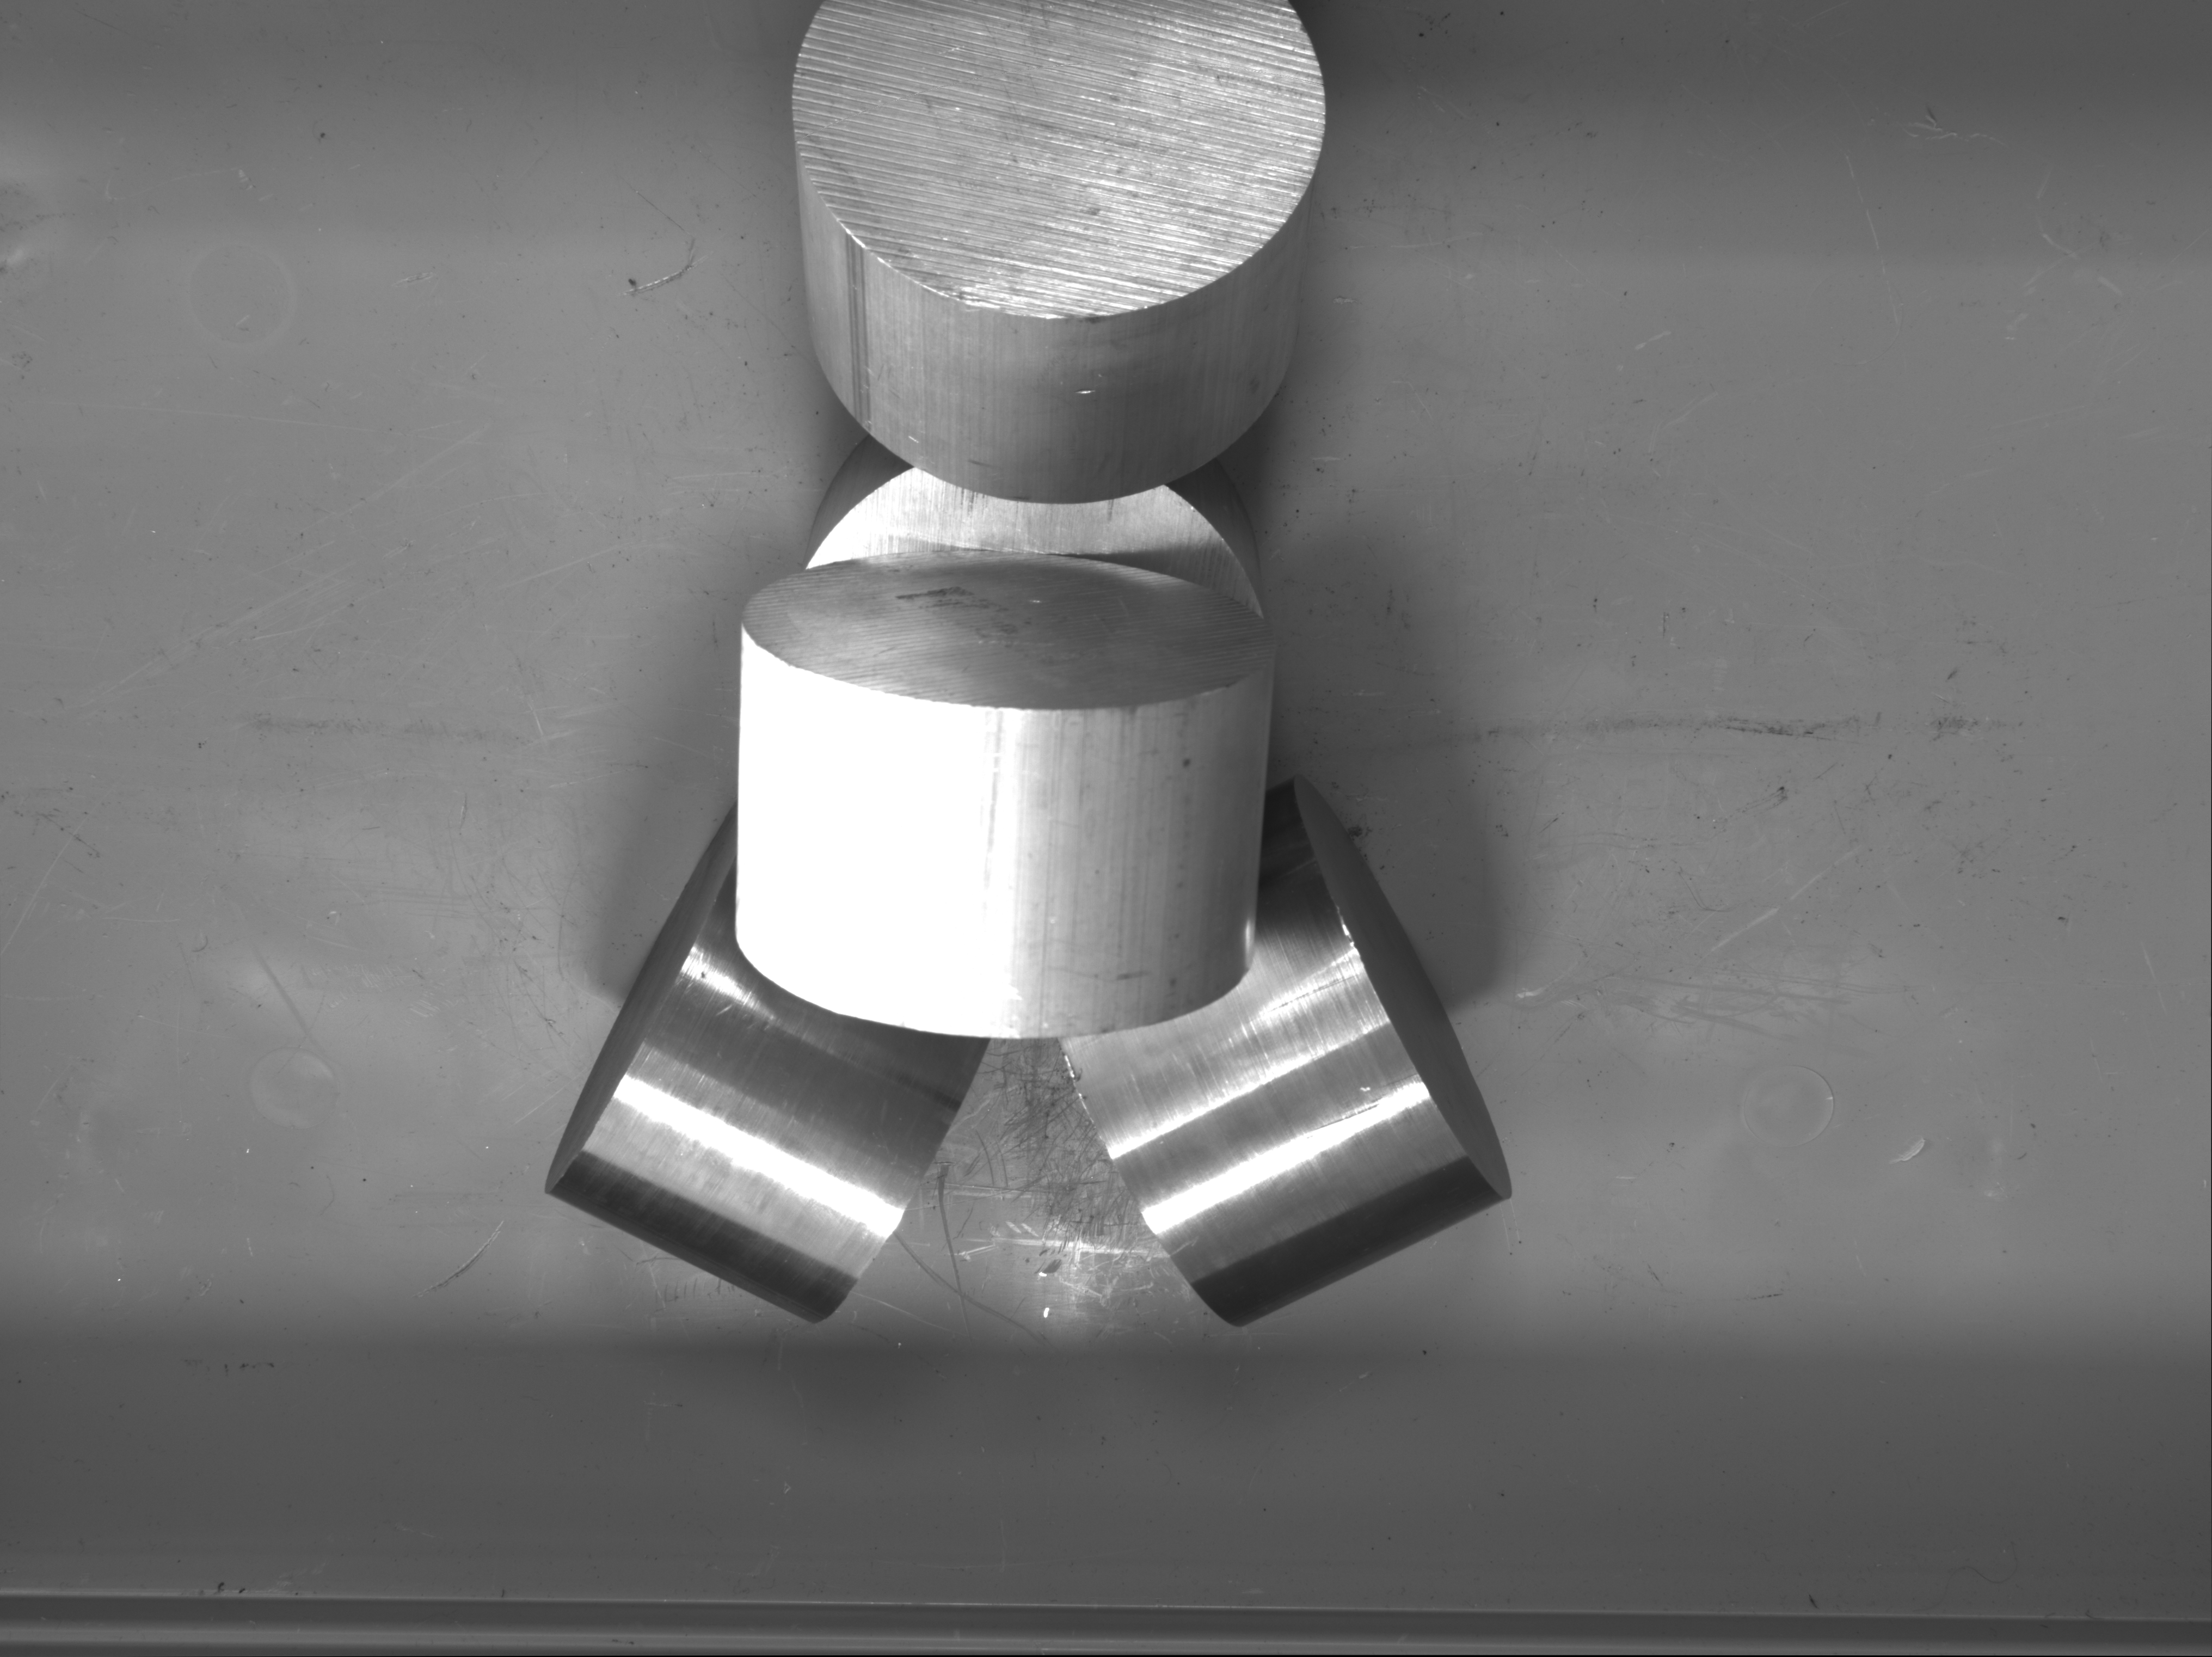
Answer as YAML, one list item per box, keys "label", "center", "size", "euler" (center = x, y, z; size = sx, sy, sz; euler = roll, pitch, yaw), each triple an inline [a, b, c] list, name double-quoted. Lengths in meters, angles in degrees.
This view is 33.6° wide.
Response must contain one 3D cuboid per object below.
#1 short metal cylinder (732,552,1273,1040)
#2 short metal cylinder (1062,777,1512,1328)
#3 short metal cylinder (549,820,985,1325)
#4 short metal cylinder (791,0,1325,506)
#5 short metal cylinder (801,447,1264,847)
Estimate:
- label: "short metal cylinder"
  center: [-0.016, -0.007, 0.557]
  size: [0.080, 0.080, 0.050]
  euler: [3, 110, -1]
- label: "short metal cylinder"
  center: [0.029, 0.038, 0.627]
  size: [0.050, 0.080, 0.080]
  euler: [-27, 108, 10]
- label: "short metal cylinder"
  center: [-0.055, 0.038, 0.626]
  size: [0.050, 0.080, 0.080]
  euler: [28, 108, -9]
- label: "short metal cylinder"
  center: [-0.008, -0.098, 0.571]
  size: [0.080, 0.080, 0.050]
  euler: [4, 152, -1]
- label: "short metal cylinder"
  center: [-0.013, -0.031, 0.616]
  size: [0.080, 0.050, 0.080]
  euler: [0, 110, 0]
